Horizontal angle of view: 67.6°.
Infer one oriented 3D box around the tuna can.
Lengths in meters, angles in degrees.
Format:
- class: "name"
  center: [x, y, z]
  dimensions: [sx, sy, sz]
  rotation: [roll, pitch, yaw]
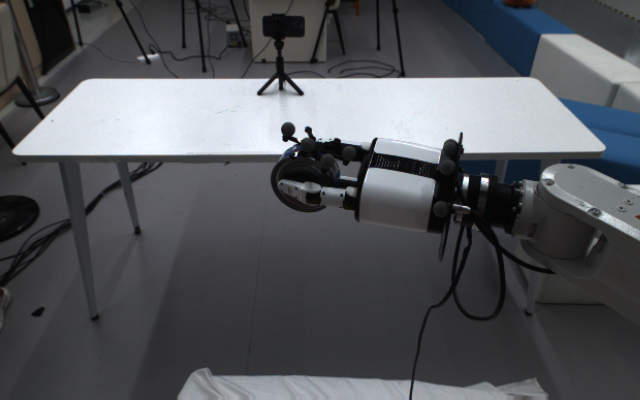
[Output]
- class: "tuna can"
  center: [-0.017, -0.027, 0.626]
  dimensions: [0.085, 0.085, 0.034]
  rotation: [9, 35, 10]
